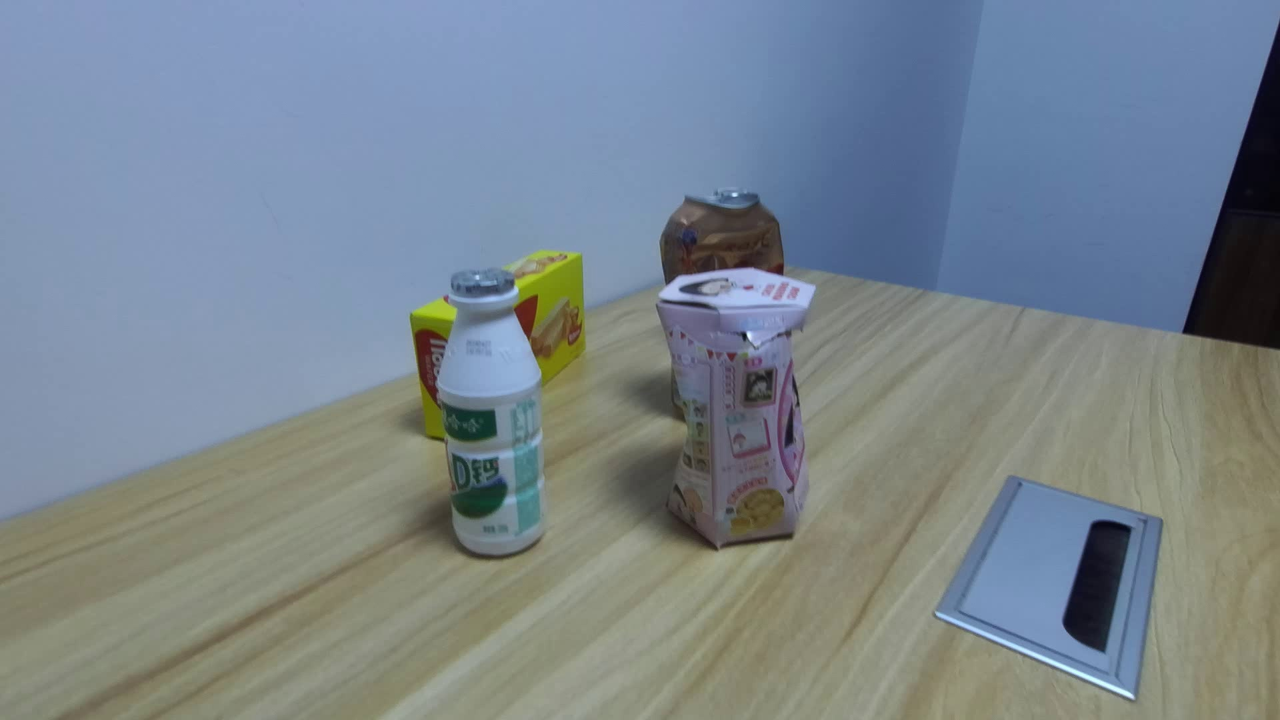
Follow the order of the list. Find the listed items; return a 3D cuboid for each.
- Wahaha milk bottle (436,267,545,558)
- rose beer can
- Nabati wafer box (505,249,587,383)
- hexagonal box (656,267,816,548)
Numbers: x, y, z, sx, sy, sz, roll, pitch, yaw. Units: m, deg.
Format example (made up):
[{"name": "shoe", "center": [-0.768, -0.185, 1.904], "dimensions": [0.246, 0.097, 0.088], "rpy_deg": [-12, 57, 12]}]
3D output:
[{"name": "Wahaha milk bottle", "center": [-0.077, 0.028, 0.371], "dimensions": [0.053, 0.147, 0.053], "rpy_deg": [0, 21, 0]}, {"name": "rose beer can", "center": [0.057, -0.035, 0.506], "dimensions": [0.067, 0.162, 0.074], "rpy_deg": [10, 16, 36]}, {"name": "Nabati wafer box", "center": [-0.101, -0.021, 0.575], "dimensions": [0.042, 0.093, 0.203], "rpy_deg": [7, 24, 19]}, {"name": "hexagonal box", "center": [0.053, 0.024, 0.398], "dimensions": [0.091, 0.134, 0.089], "rpy_deg": [-13, 23, -27]}]
